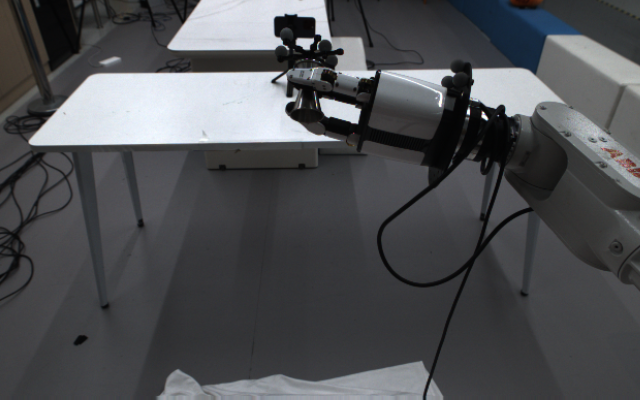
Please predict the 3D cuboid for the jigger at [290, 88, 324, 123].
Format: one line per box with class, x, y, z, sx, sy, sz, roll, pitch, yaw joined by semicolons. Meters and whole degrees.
jigger;-0.016;-0.138;0.611;0.043;0.043;0.071;2;76;1
